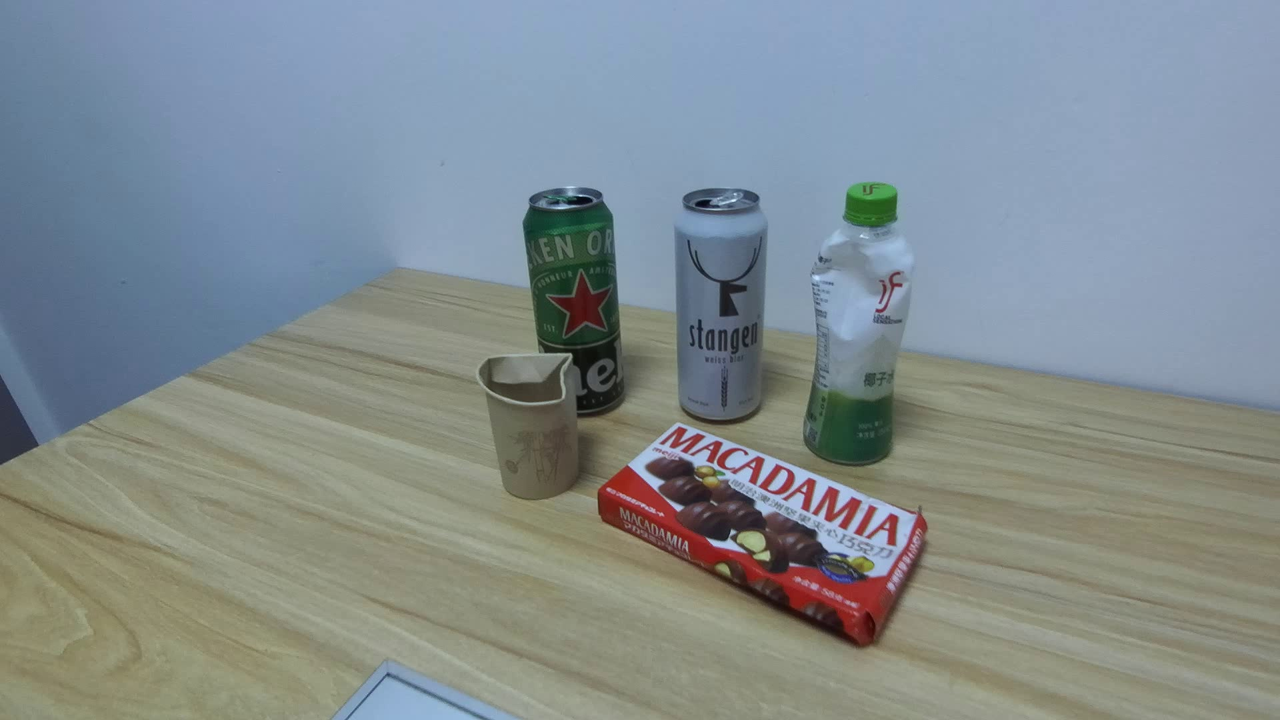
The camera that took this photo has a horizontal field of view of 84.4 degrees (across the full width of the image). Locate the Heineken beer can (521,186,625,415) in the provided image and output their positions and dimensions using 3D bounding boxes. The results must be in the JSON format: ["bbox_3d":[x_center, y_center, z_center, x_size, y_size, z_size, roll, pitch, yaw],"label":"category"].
[{"bbox_3d":[-0.050,-0.043,0.552,0.067,0.169,0.067,-2,27,1],"label":"Heineken beer can"}]

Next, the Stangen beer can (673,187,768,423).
[{"bbox_3d":[0.061,-0.039,0.531,0.067,0.171,0.067,-2,29,1],"label":"Stangen beer can"}]

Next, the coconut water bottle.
[{"bbox_3d":[0.148,-0.022,0.474,0.069,0.187,0.069,-1,28,1],"label":"coconut water bottle"}]

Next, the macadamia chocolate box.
[{"bbox_3d":[0.073,0.097,0.435,0.182,0.028,0.106,18,34,31],"label":"macadamia chocolate box"}]

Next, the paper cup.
[{"bbox_3d":[-0.075,0.046,0.482,0.066,0.084,0.071,0,28,4],"label":"paper cup"}]
